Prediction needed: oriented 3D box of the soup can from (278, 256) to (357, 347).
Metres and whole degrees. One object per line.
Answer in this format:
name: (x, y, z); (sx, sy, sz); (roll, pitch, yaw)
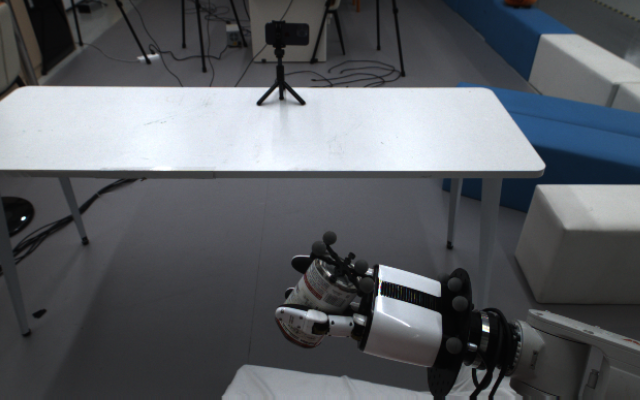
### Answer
soup can: (0.001, 0.123, 0.596); (0.067, 0.101, 0.067); (28, 22, -12)
